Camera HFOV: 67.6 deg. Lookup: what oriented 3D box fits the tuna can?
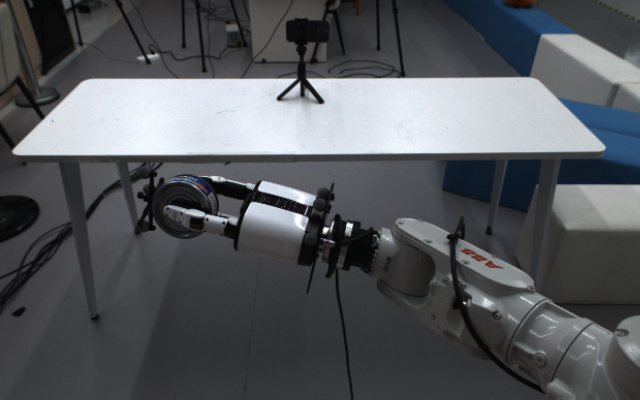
[{"bbox_3d":[-0.183,0.013,0.662,0.085,0.085,0.034,4,19,3],"label":"tuna can"}]
